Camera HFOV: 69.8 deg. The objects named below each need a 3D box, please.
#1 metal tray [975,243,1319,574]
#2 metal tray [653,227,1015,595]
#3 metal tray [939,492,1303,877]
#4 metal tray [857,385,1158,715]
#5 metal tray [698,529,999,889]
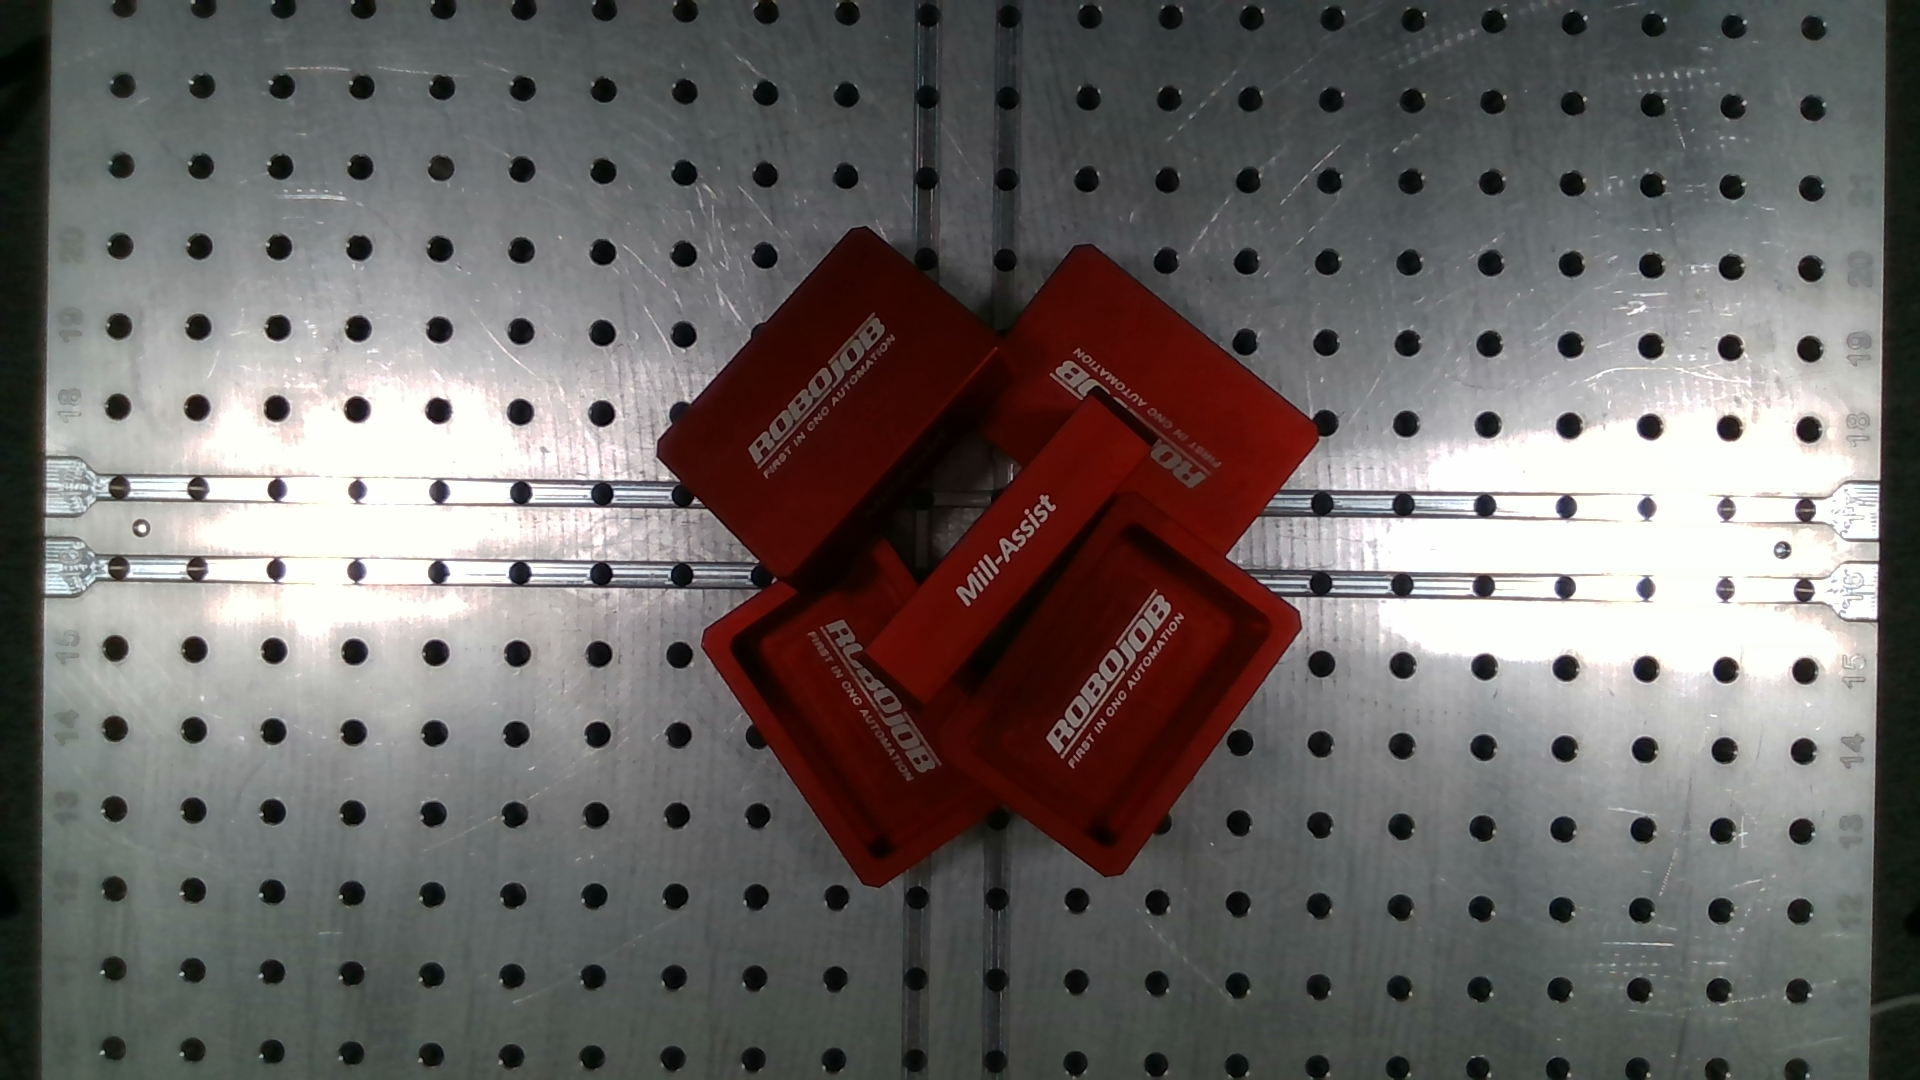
[{"bbox_3d":[0.073,-0.051,0.586,0.130,0.030,0.090,39,90,0],"label":"metal tray"},{"bbox_3d":[-0.053,-0.054,0.568,0.130,0.030,0.090,-48,65,0],"label":"metal tray"},{"bbox_3d":[0.063,0.057,0.557,0.090,0.030,0.130,36,90,0],"label":"metal tray"},{"bbox_3d":[0.017,0.003,0.526,0.030,0.090,0.130,41,90,0],"label":"metal tray"},{"bbox_3d":[-0.038,0.069,0.586,0.090,0.030,0.130,-34,90,0],"label":"metal tray"}]
